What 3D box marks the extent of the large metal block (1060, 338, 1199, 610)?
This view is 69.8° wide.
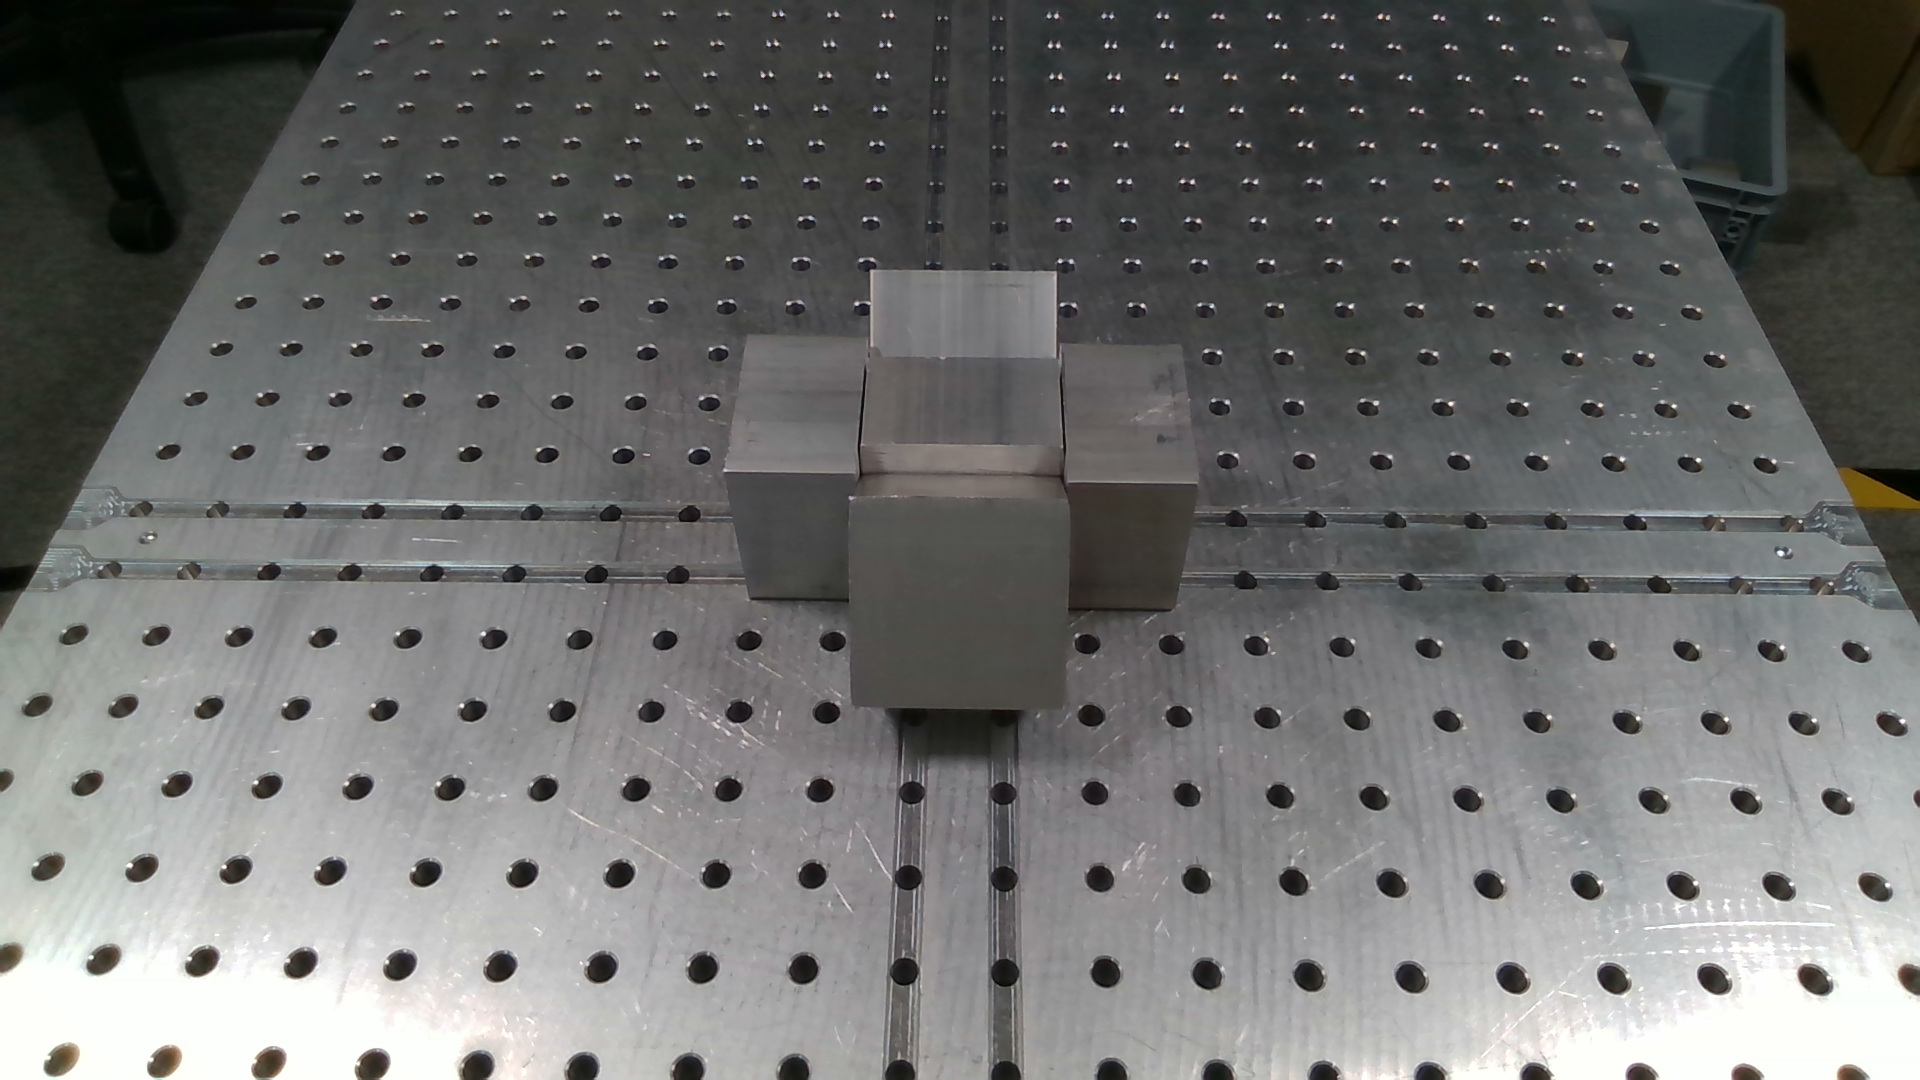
[{"bbox_3d":[0.066,-0.027,0.575,0.050,0.080,0.080,1,50,1],"label":"large metal block"}]

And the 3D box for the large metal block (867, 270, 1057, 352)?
[{"bbox_3d":[0.001,-0.088,0.620,0.080,0.080,0.050,0,89,1],"label":"large metal block"}]

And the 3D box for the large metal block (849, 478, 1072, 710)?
[{"bbox_3d":[0.000,0.018,0.528,0.080,0.080,0.050,1,13,0],"label":"large metal block"}]

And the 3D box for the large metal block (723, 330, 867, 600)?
[{"bbox_3d":[-0.064,-0.031,0.579,0.050,0.080,0.080,1,50,1],"label":"large metal block"}]

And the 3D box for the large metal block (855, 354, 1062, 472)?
[{"bbox_3d":[0.000,-0.031,0.578,0.080,0.080,0.050,1,50,1],"label":"large metal block"}]
